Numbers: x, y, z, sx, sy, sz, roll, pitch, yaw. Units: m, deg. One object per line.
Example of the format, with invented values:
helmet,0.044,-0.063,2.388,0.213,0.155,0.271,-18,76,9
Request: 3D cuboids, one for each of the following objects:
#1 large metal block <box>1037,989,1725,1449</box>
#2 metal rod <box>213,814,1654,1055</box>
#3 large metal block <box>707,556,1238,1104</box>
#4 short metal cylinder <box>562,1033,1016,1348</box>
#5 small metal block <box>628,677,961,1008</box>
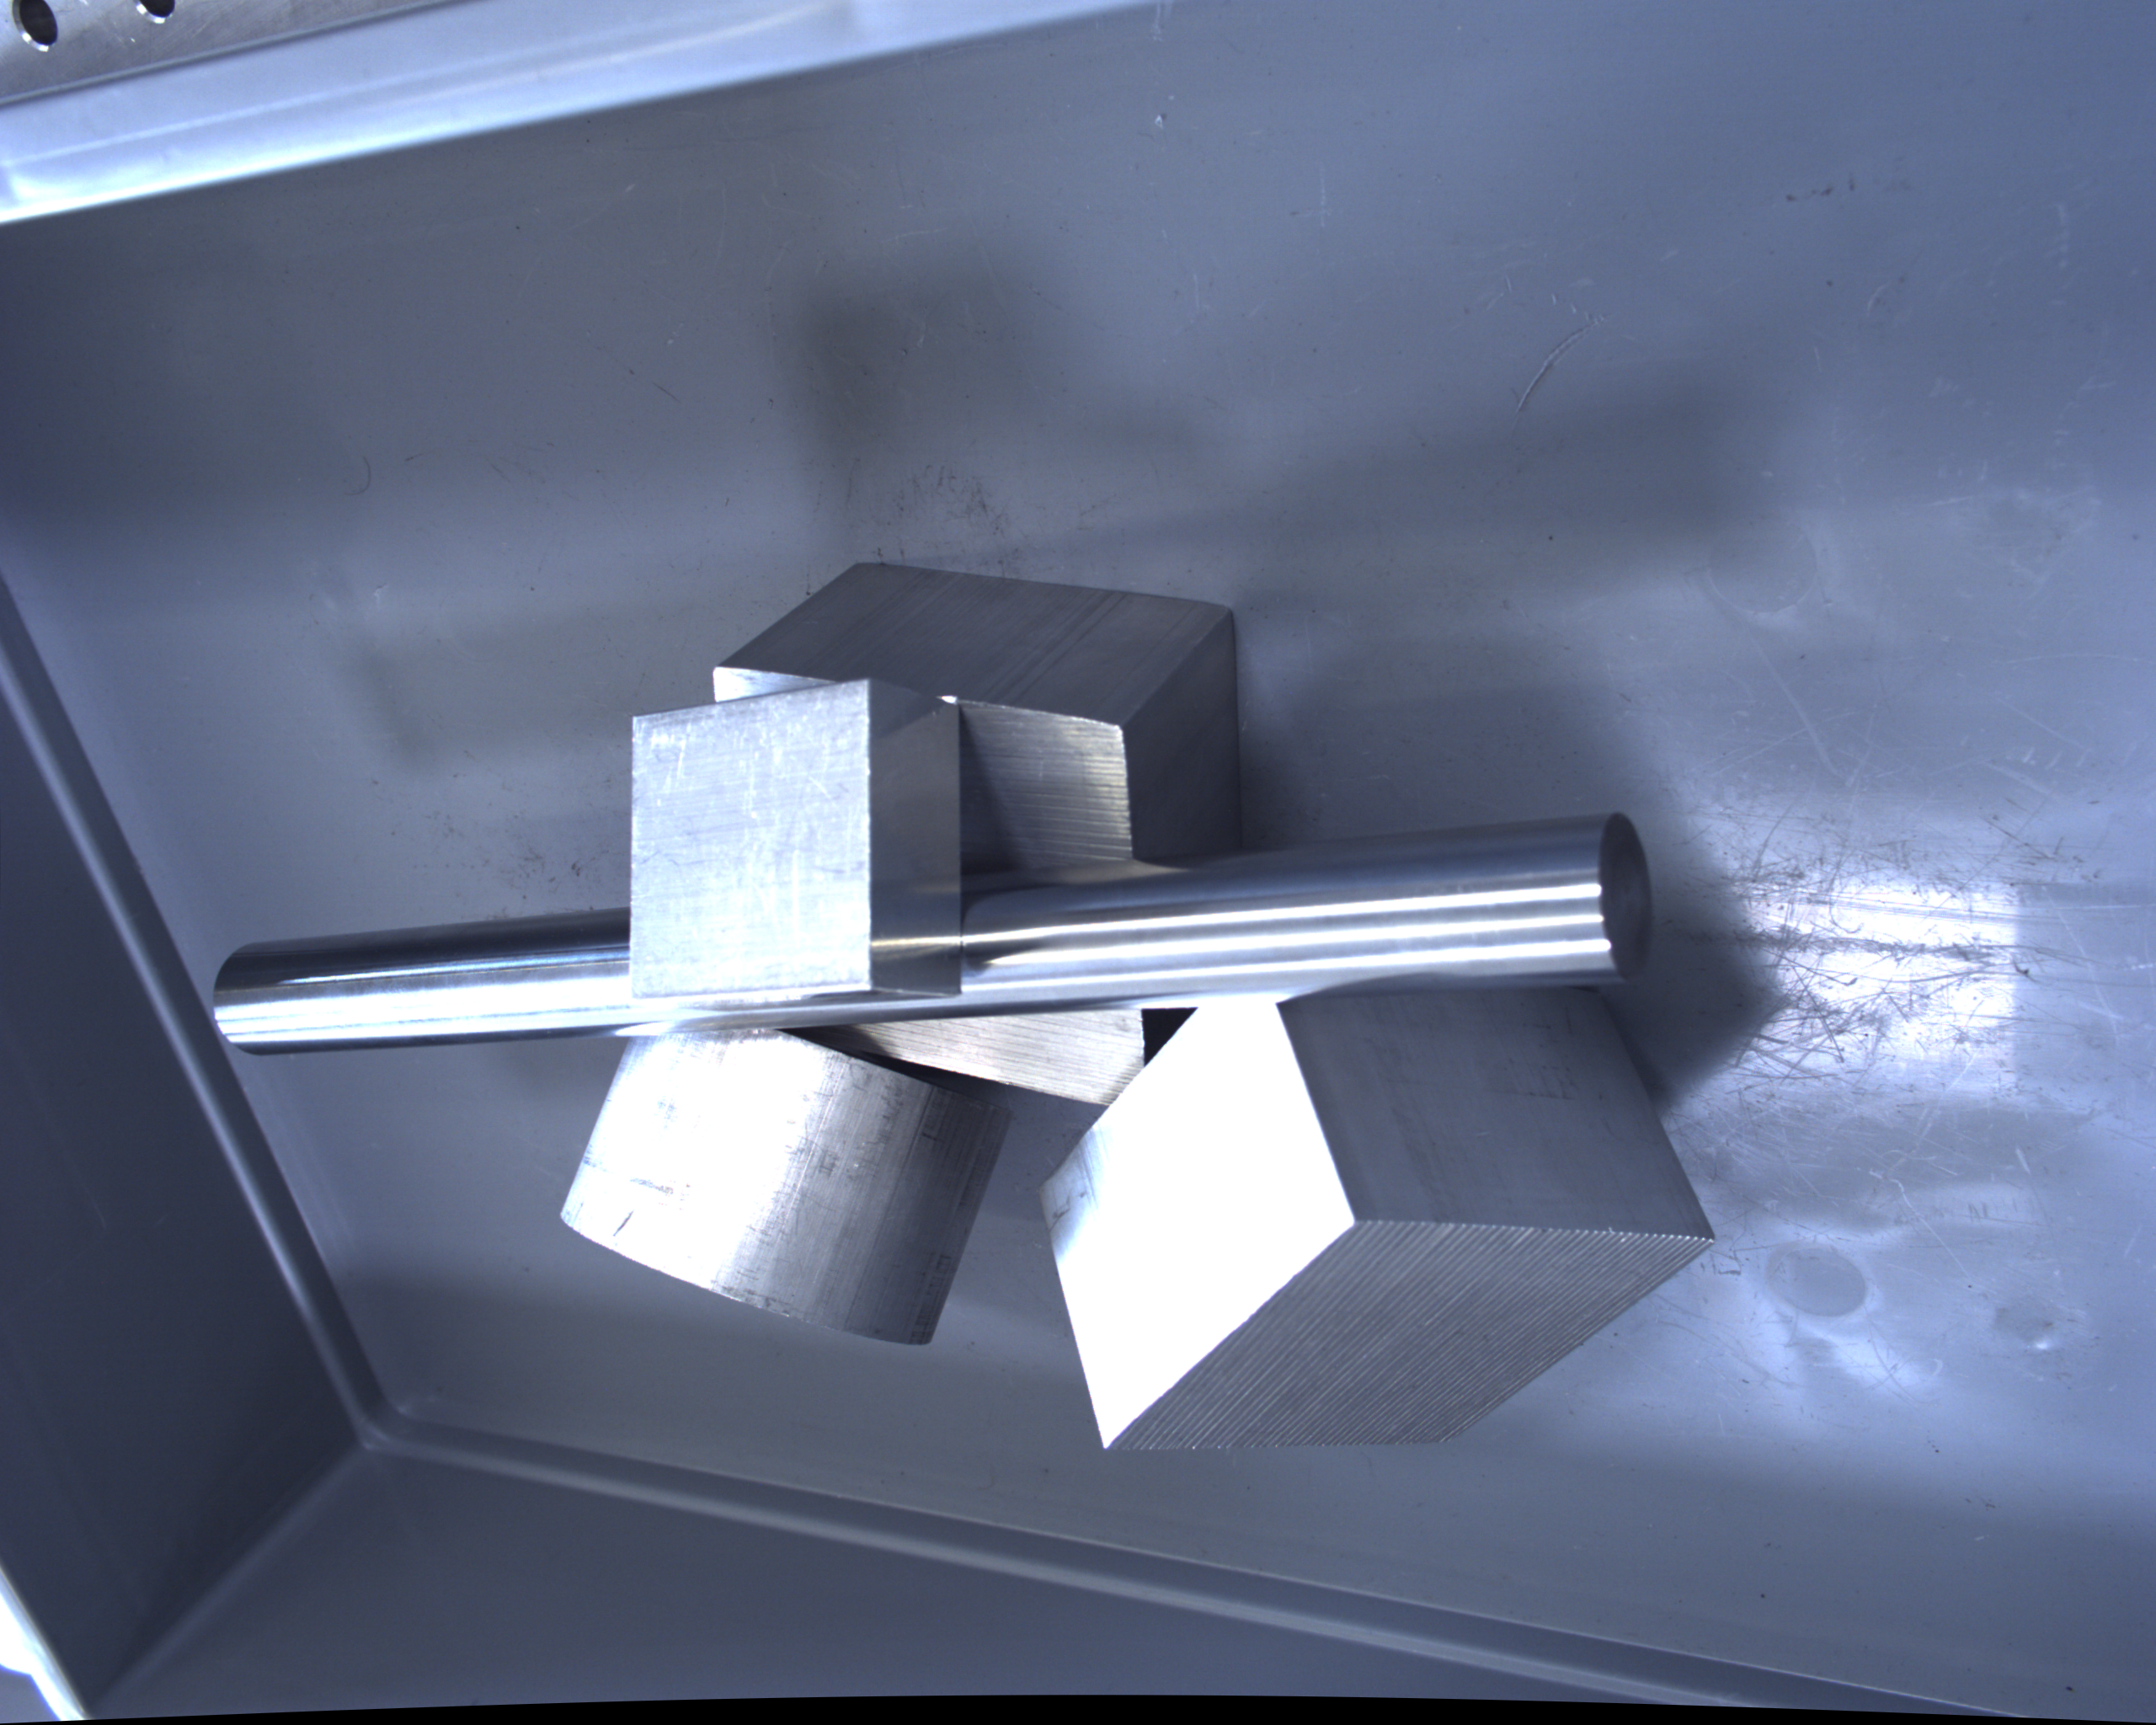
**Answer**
large metal block,0.051,0.063,0.375,0.081,0.050,0.080,8,137,-31
metal rod,-0.049,0.017,0.378,0.300,0.025,0.025,-5,116,31
large metal block,-0.017,-0.007,0.394,0.080,0.050,0.079,10,123,22
short metal cylinder,-0.059,0.062,0.433,0.080,0.080,0.050,18,83,18
small metal block,-0.048,-0.001,0.350,0.050,0.025,0.050,-6,81,31
